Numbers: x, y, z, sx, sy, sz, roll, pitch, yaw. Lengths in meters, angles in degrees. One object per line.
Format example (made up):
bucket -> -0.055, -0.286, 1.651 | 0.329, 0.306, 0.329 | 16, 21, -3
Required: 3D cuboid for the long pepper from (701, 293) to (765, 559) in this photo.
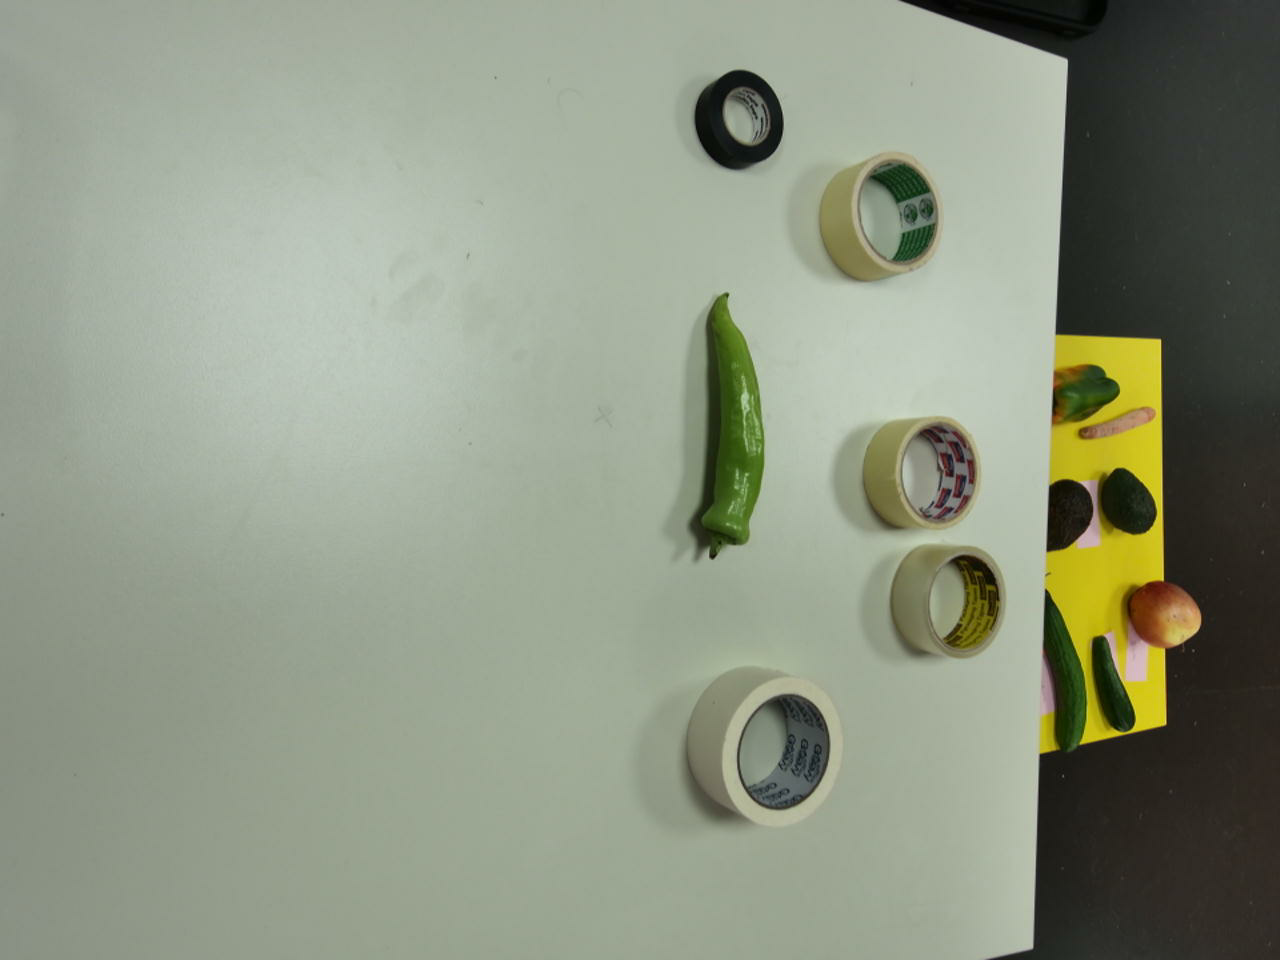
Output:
long pepper -> 0.071, -0.041, 0.728 | 0.046, 0.038, 0.197 | 6, 87, -28
